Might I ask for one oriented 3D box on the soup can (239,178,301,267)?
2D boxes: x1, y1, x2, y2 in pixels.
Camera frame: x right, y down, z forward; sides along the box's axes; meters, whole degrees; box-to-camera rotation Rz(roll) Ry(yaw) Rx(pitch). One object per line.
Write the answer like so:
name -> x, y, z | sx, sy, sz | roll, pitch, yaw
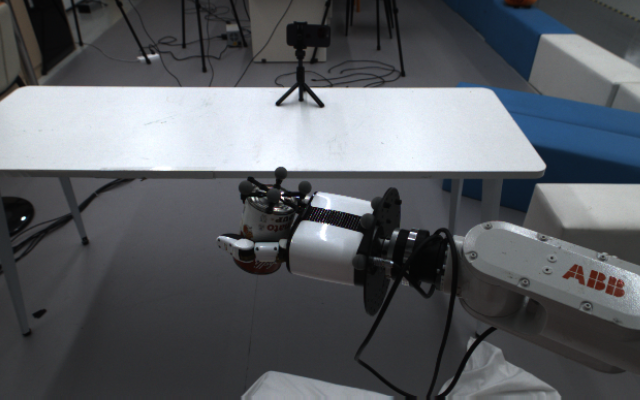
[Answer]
soup can -> -0.071, 0.039, 0.635 | 0.067, 0.101, 0.067 | 13, 30, -8
